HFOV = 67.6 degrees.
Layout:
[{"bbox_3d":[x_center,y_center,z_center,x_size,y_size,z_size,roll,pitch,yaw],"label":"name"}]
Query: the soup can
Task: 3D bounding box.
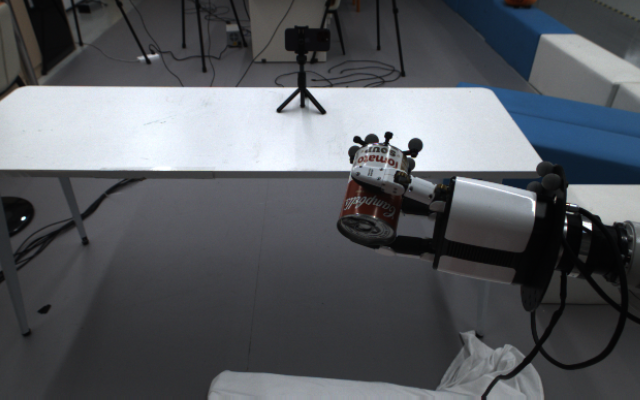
[{"bbox_3d":[0.065,-0.009,0.564,0.067,0.067,0.101,9,61,10],"label":"soup can"}]
